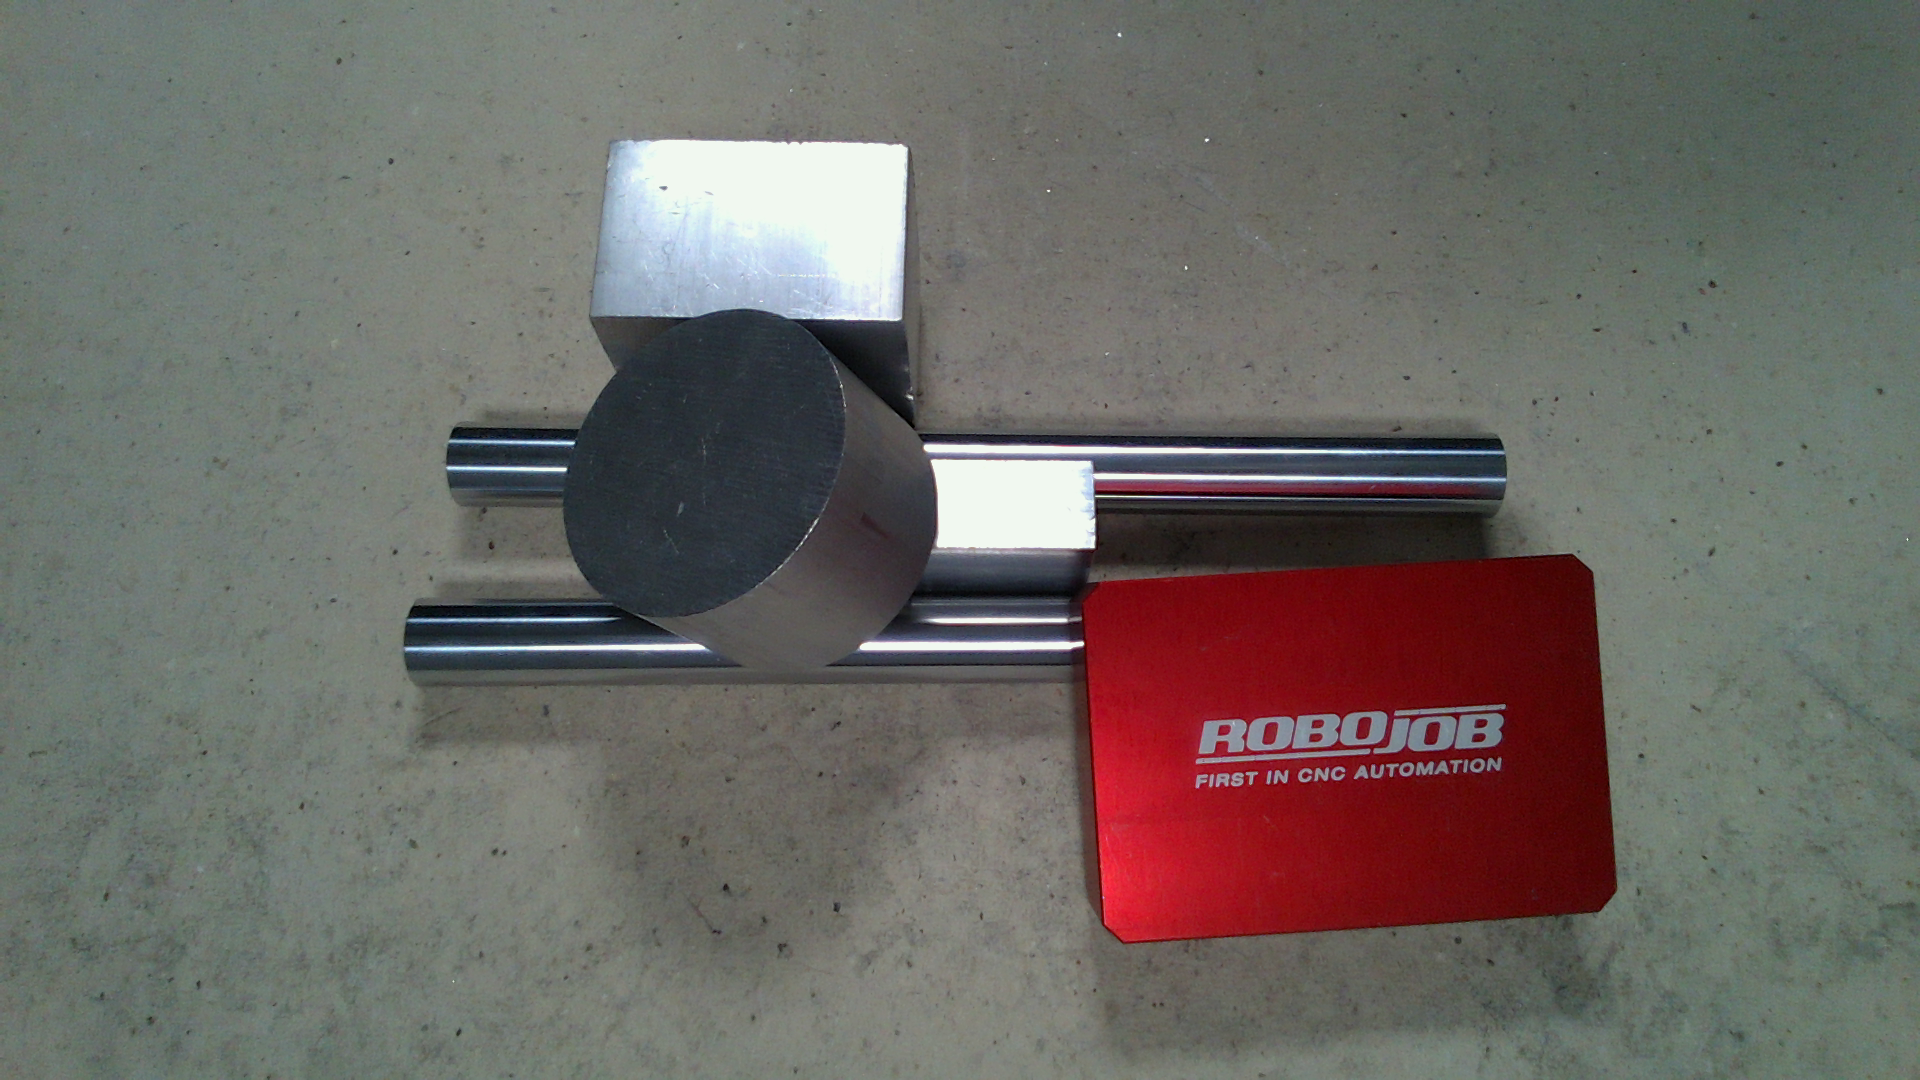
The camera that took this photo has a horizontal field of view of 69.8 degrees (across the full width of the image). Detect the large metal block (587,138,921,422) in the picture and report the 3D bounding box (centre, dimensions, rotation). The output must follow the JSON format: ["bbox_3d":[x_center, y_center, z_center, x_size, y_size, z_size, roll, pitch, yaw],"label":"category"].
[{"bbox_3d":[-0.053,-0.068,0.391,0.080,0.080,0.050,1,70,0],"label":"large metal block"}]

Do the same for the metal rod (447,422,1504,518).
[{"bbox_3d":[0.004,-0.020,0.403,0.300,0.025,0.025,1,70,0],"label":"metal rod"}]

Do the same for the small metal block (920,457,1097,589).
[{"bbox_3d":[0.011,-0.001,0.381,0.050,0.050,0.025,1,70,0],"label":"small metal block"}]

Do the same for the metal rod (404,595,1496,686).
[{"bbox_3d":[0.000,0.028,0.385,0.300,0.025,0.025,0,70,0],"label":"metal rod"}]

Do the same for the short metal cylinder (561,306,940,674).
[{"bbox_3d":[-0.052,-0.011,0.348,0.080,0.050,0.080,-9,66,22],"label":"short metal cylinder"}]

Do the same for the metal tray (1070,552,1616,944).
[{"bbox_3d":[0.097,0.052,0.358,0.130,0.030,0.090,-3,88,-3],"label":"metal tray"}]
